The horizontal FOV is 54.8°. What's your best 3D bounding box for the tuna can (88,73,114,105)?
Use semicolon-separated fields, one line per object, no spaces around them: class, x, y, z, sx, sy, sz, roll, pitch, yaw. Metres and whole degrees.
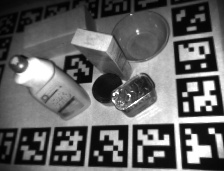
tuna can;-0.032;0.009;0.584;0.085;0.034;0.085;-5;71;17

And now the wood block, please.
wood block;-0.180;-0.163;0.675;0.205;0.091;0.090;-13;70;12

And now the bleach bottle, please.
bleach bottle;-0.161;0.003;0.511;0.102;0.253;0.067;-29;62;7

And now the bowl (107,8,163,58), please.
bowl;0.068;-0.136;0.599;0.160;0.056;0.161;-8;67;20

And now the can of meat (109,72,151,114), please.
can of meat;0.042;0.020;0.535;0.102;0.084;0.057;-32;60;3

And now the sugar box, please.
sugar box;-0.031;-0.075;0.536;0.092;0.178;0.045;16;78;28
